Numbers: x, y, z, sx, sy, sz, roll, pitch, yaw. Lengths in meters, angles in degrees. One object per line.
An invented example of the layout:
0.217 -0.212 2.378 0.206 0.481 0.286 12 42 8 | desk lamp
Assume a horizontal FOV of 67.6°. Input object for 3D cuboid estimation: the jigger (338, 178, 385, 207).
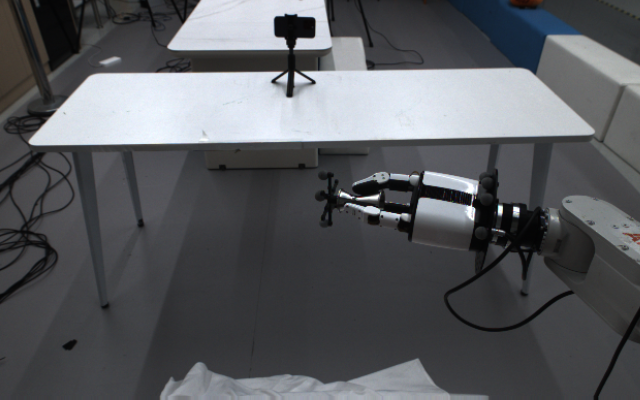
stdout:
0.071 0.000 0.760 0.071 0.043 0.043 4 34 17 | jigger
